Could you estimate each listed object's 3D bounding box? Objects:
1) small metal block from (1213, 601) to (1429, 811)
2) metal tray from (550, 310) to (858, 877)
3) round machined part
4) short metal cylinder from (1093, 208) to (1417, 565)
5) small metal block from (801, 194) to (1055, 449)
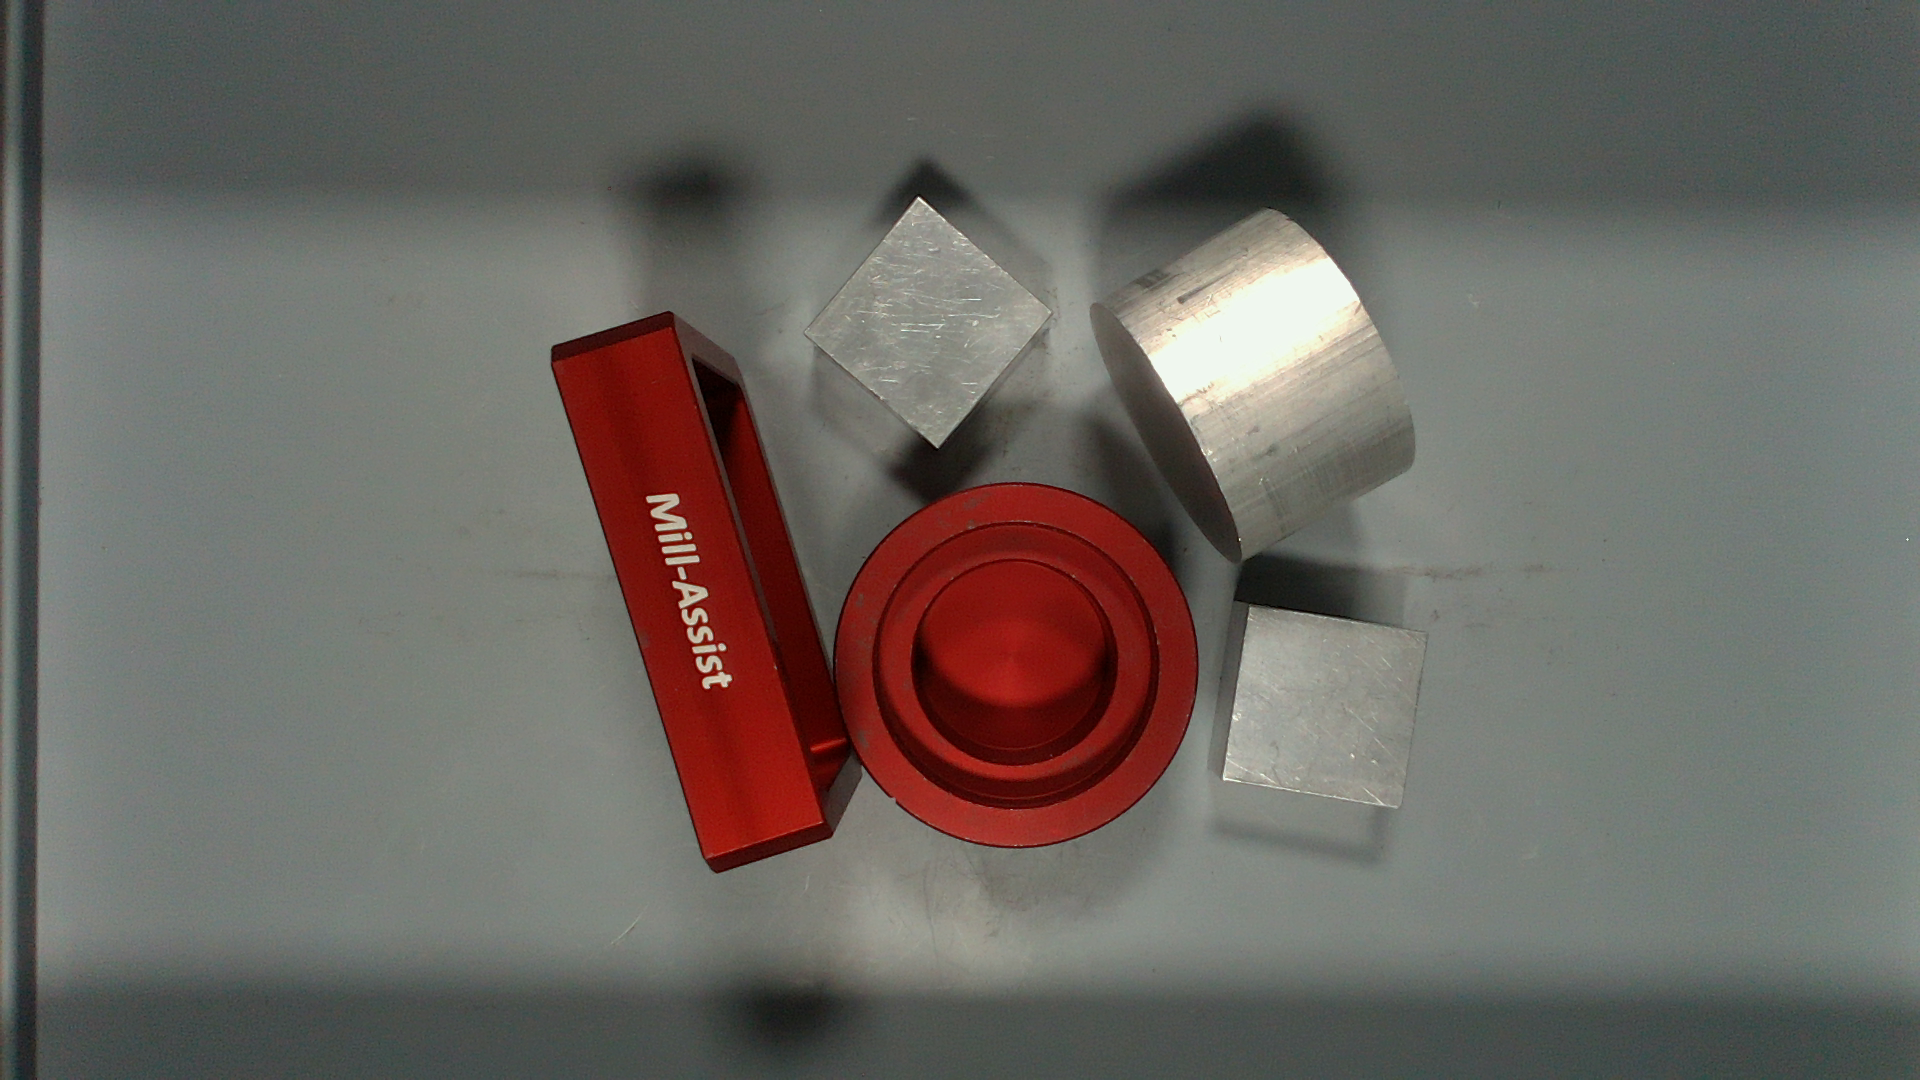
[{"bbox_3d":[0.102,0.046,0.395,0.050,0.025,0.050,9,90,1],"label":"small metal block"},{"bbox_3d":[-0.062,0.012,0.361,0.030,0.090,0.130,-17,90,1],"label":"metal tray"},{"bbox_3d":[0.015,0.033,0.384,0.098,0.042,0.098,0,90,0],"label":"round machined part"},{"bbox_3d":[0.077,-0.040,0.367,0.050,0.080,0.080,-29,90,0],"label":"short metal cylinder"},{"bbox_3d":[-0.009,-0.061,0.394,0.050,0.025,0.050,40,91,1],"label":"small metal block"}]
